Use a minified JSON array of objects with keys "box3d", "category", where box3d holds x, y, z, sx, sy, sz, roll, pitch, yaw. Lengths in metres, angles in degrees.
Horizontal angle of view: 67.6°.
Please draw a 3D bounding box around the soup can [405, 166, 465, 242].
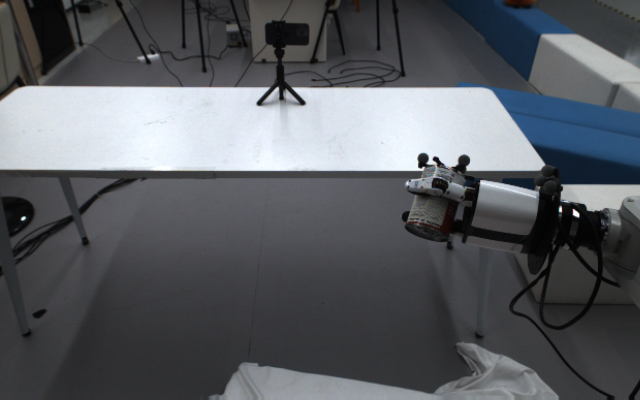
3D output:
[{"box3d":[0.178,0.004,0.740,0.067,0.067,0.101,15,74,18],"category":"soup can"}]
